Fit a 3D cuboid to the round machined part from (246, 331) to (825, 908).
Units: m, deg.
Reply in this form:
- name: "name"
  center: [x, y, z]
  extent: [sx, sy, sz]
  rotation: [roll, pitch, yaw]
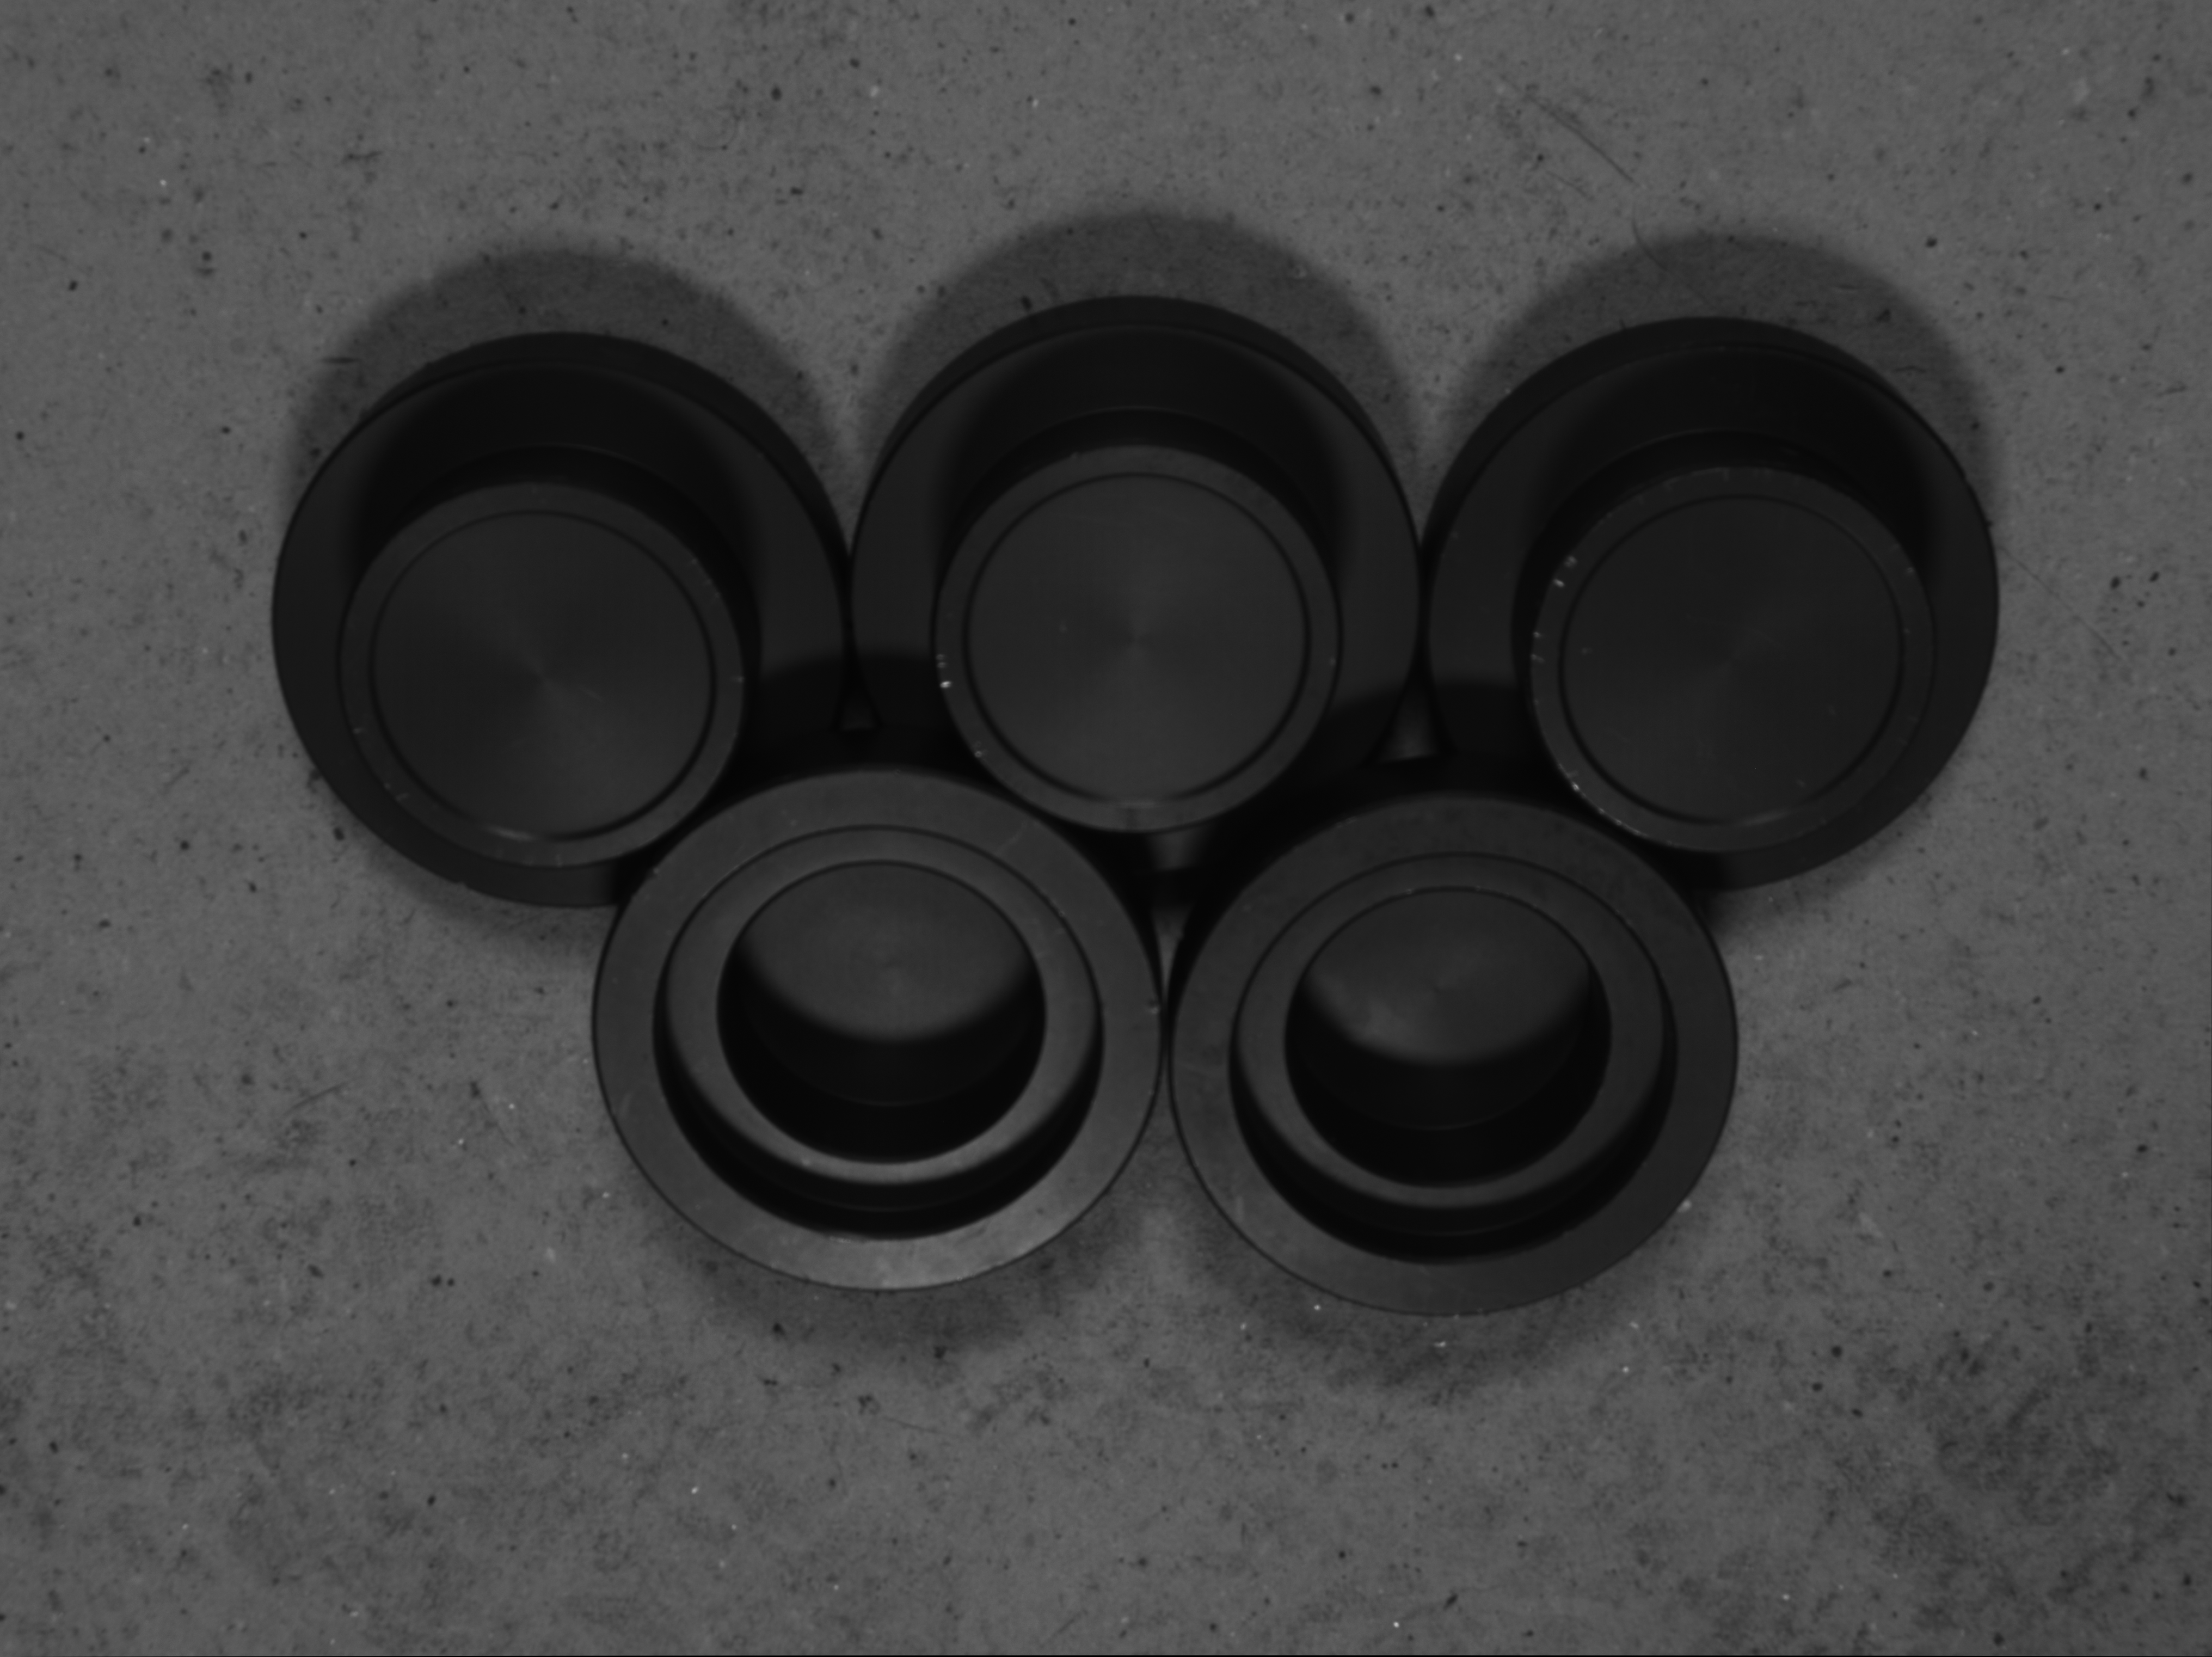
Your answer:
- name: "round machined part"
  center: [-0.097, -0.032, 0.621]
  extent: [0.098, 0.042, 0.098]
  rotation: [0, 110, -1]

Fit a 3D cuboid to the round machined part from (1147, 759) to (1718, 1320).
- name: "round machined part"
  center: [0.056, 0.034, 0.647]
  extent: [0.098, 0.042, 0.098]
  rotation: [0, 110, -1]

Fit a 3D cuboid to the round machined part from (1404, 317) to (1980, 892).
- name: "round machined part"
  center: [0.100, -0.034, 0.623]
  extent: [0.098, 0.042, 0.098]
  rotation: [0, 110, -1]

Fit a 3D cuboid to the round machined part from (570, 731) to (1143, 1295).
- name: "round machined part"
  center: [-0.043, 0.029, 0.644]
  extent: [0.098, 0.042, 0.098]
  rotation: [0, 110, -1]

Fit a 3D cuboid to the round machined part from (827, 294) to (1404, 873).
- name: "round machined part"
  center: [0.002, -0.038, 0.620]
  extent: [0.098, 0.042, 0.098]
  rotation: [0, 110, -1]
